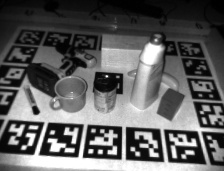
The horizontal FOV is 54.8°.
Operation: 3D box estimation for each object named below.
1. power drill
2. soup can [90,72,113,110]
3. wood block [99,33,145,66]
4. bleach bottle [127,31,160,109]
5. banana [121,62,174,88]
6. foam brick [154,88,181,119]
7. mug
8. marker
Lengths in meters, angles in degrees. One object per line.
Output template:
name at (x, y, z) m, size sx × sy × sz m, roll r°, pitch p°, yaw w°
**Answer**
power drill at (-0.184, -0.075, 0.763) m, size 0.183 × 0.057 × 0.188 m, roll 28°, pitch 50°, yaw 15°
soup can at (-0.033, 0.016, 0.650) m, size 0.068 × 0.102 × 0.067 m, roll 4°, pitch 44°, yaw -3°
wood block at (0.054, -0.134, 0.812) m, size 0.206 × 0.091 × 0.089 m, roll 3°, pitch 49°, yaw -3°
bleach bottle at (0.097, -0.045, 0.626) m, size 0.067 × 0.252 × 0.103 m, roll 25°, pitch 50°, yaw 19°
banana at (0.131, -0.049, 0.773) m, size 0.196 × 0.039 × 0.074 m, roll 17°, pitch 62°, yaw 7°
foam brick at (0.169, 0.054, 0.663) m, size 0.052 × 0.078 × 0.052 m, roll 28°, pitch 50°, yaw 23°
mug at (-0.142, 0.023, 0.654) m, size 0.118 × 0.082 × 0.092 m, roll -37°, pitch 62°, yaw -28°
marker at (-0.259, 0.041, 0.673) m, size 0.020 × 0.020 × 0.119 m, roll -21°, pitch 54°, yaw -19°
